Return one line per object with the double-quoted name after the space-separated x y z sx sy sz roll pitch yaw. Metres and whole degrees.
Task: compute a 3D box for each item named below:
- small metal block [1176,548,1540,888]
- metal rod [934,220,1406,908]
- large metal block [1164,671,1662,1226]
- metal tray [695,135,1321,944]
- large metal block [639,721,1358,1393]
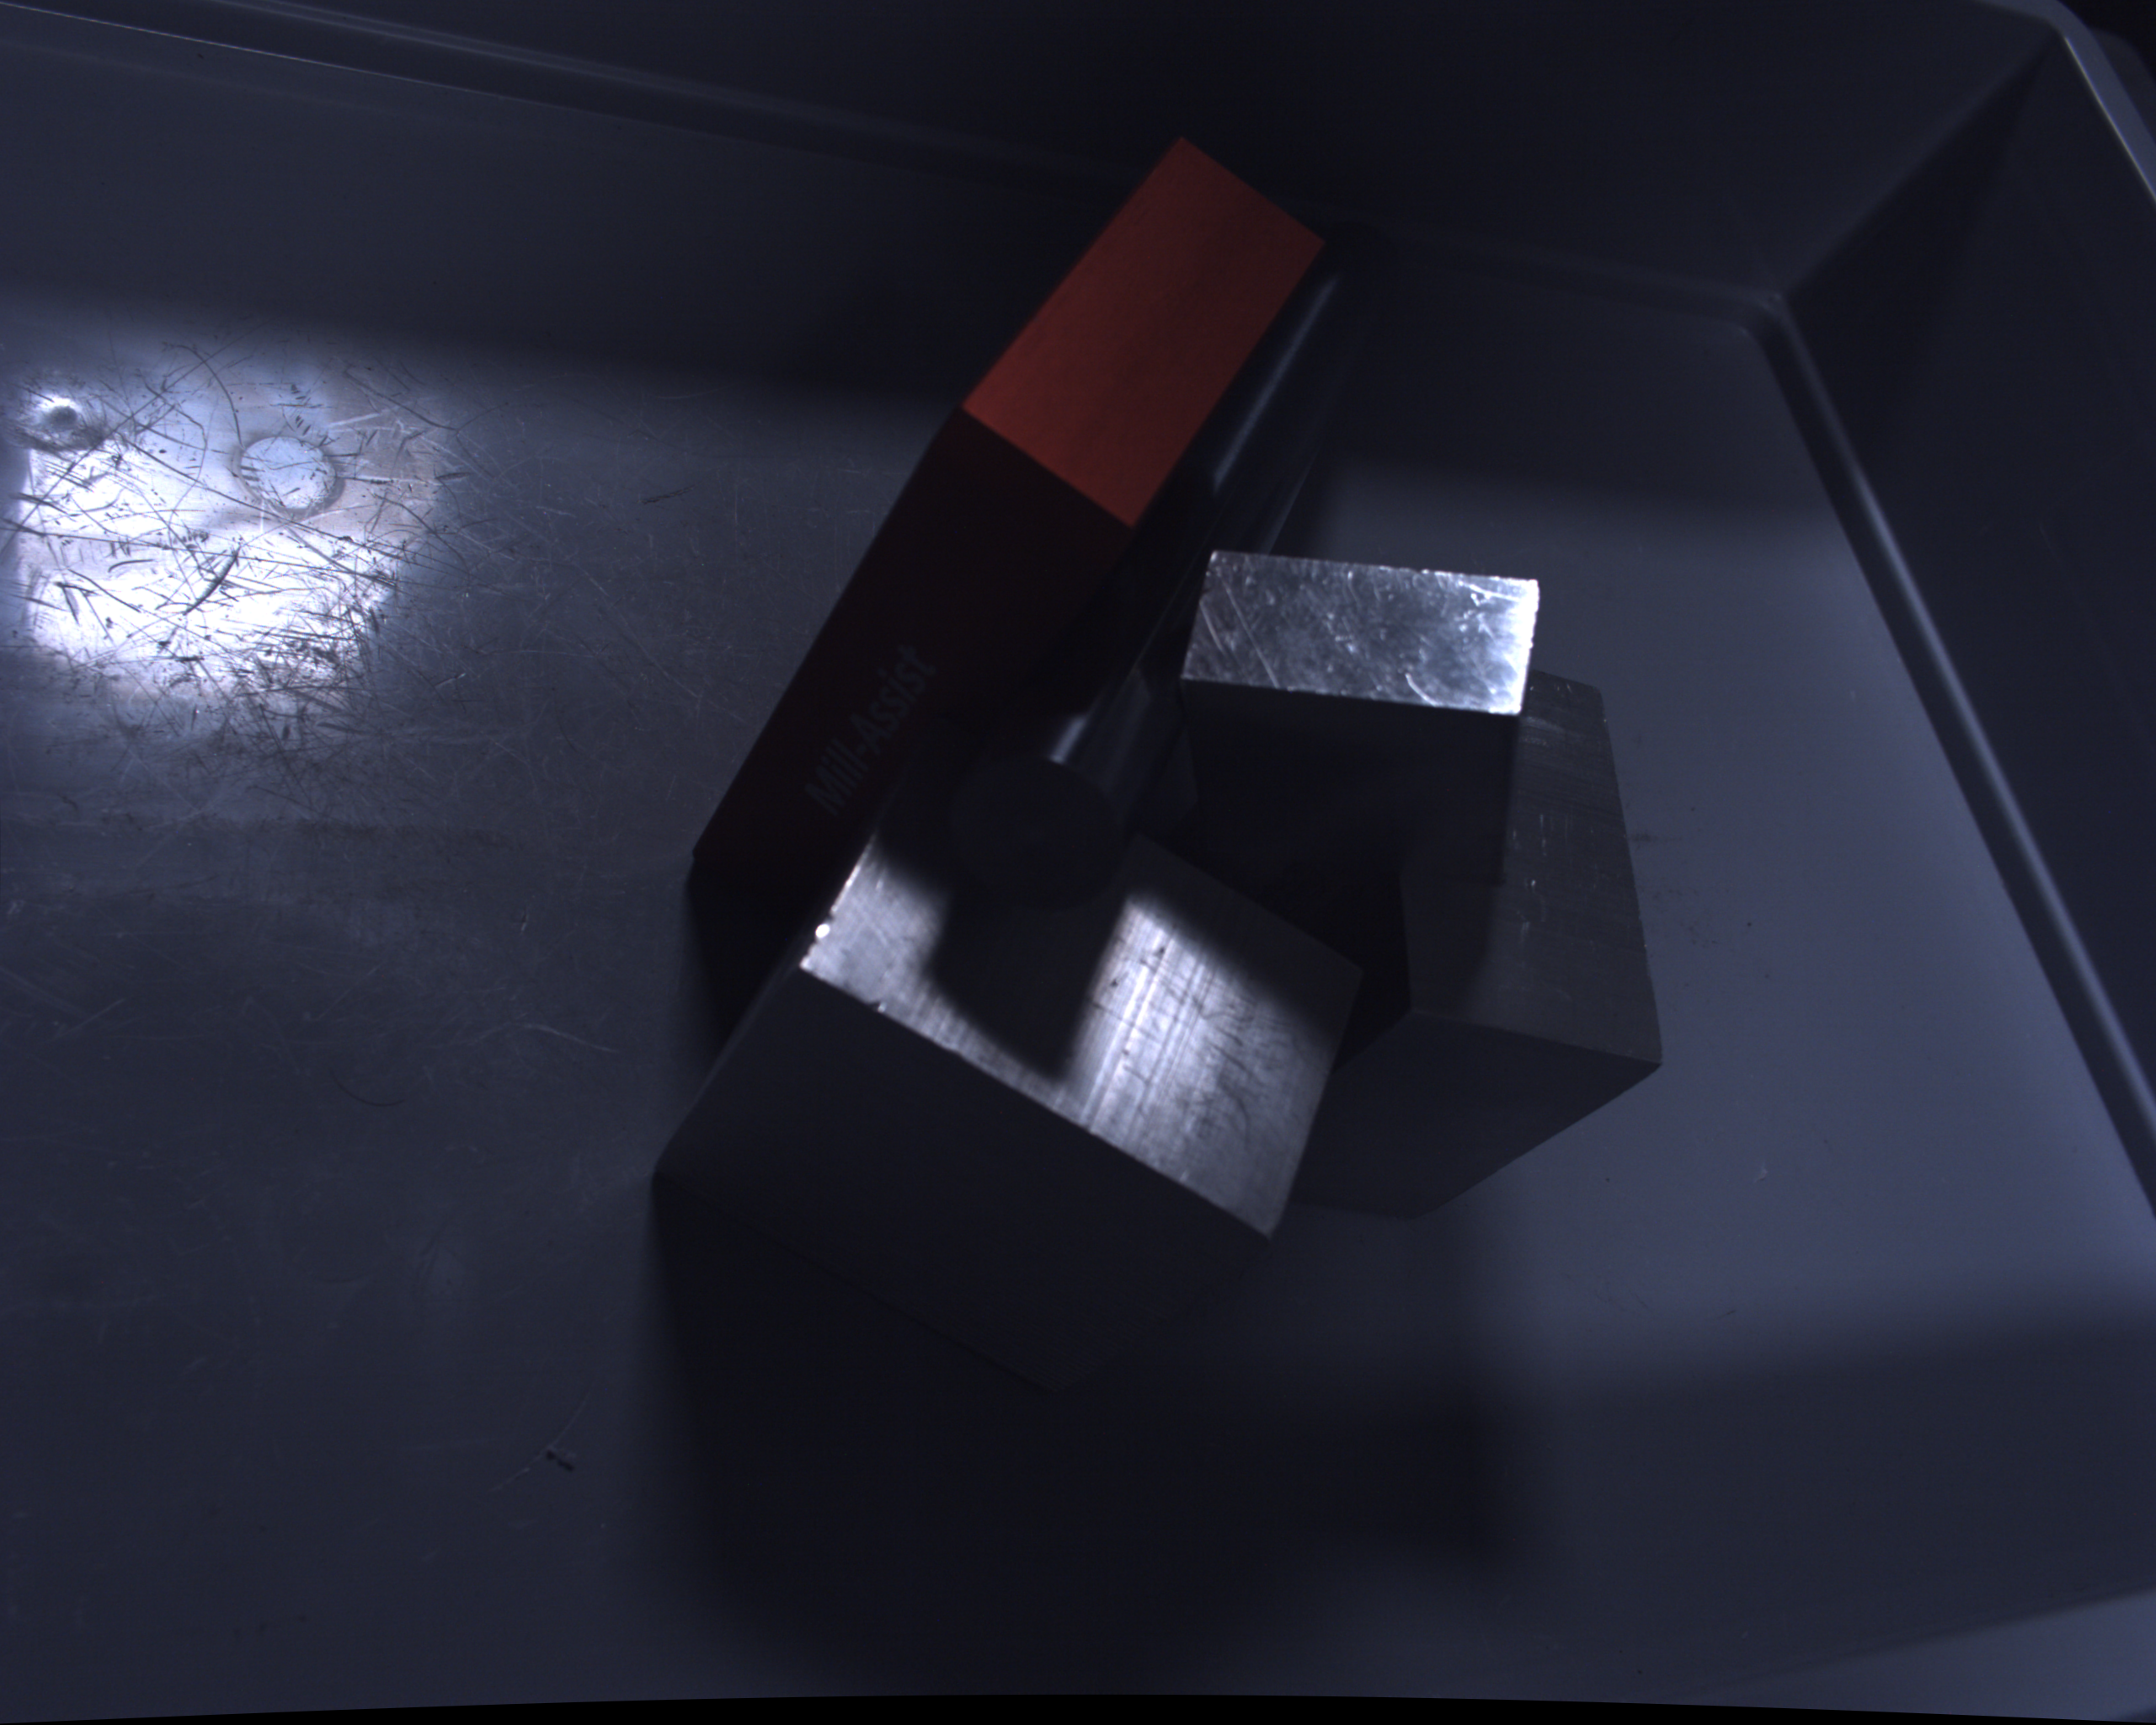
0.045 -0.022 0.332 0.050 0.050 0.025 8 61 13 "small metal block"
0.032 -0.079 0.413 0.025 0.025 0.301 36 34 -5 "metal rod"
0.058 0.014 0.394 0.050 0.080 0.080 13 56 -22 "large metal block"
-0.015 -0.051 0.360 0.030 0.129 0.090 35 52 -5 "metal tray"
-0.015 0.035 0.342 0.080 0.080 0.050 32 52 -8 "large metal block"
